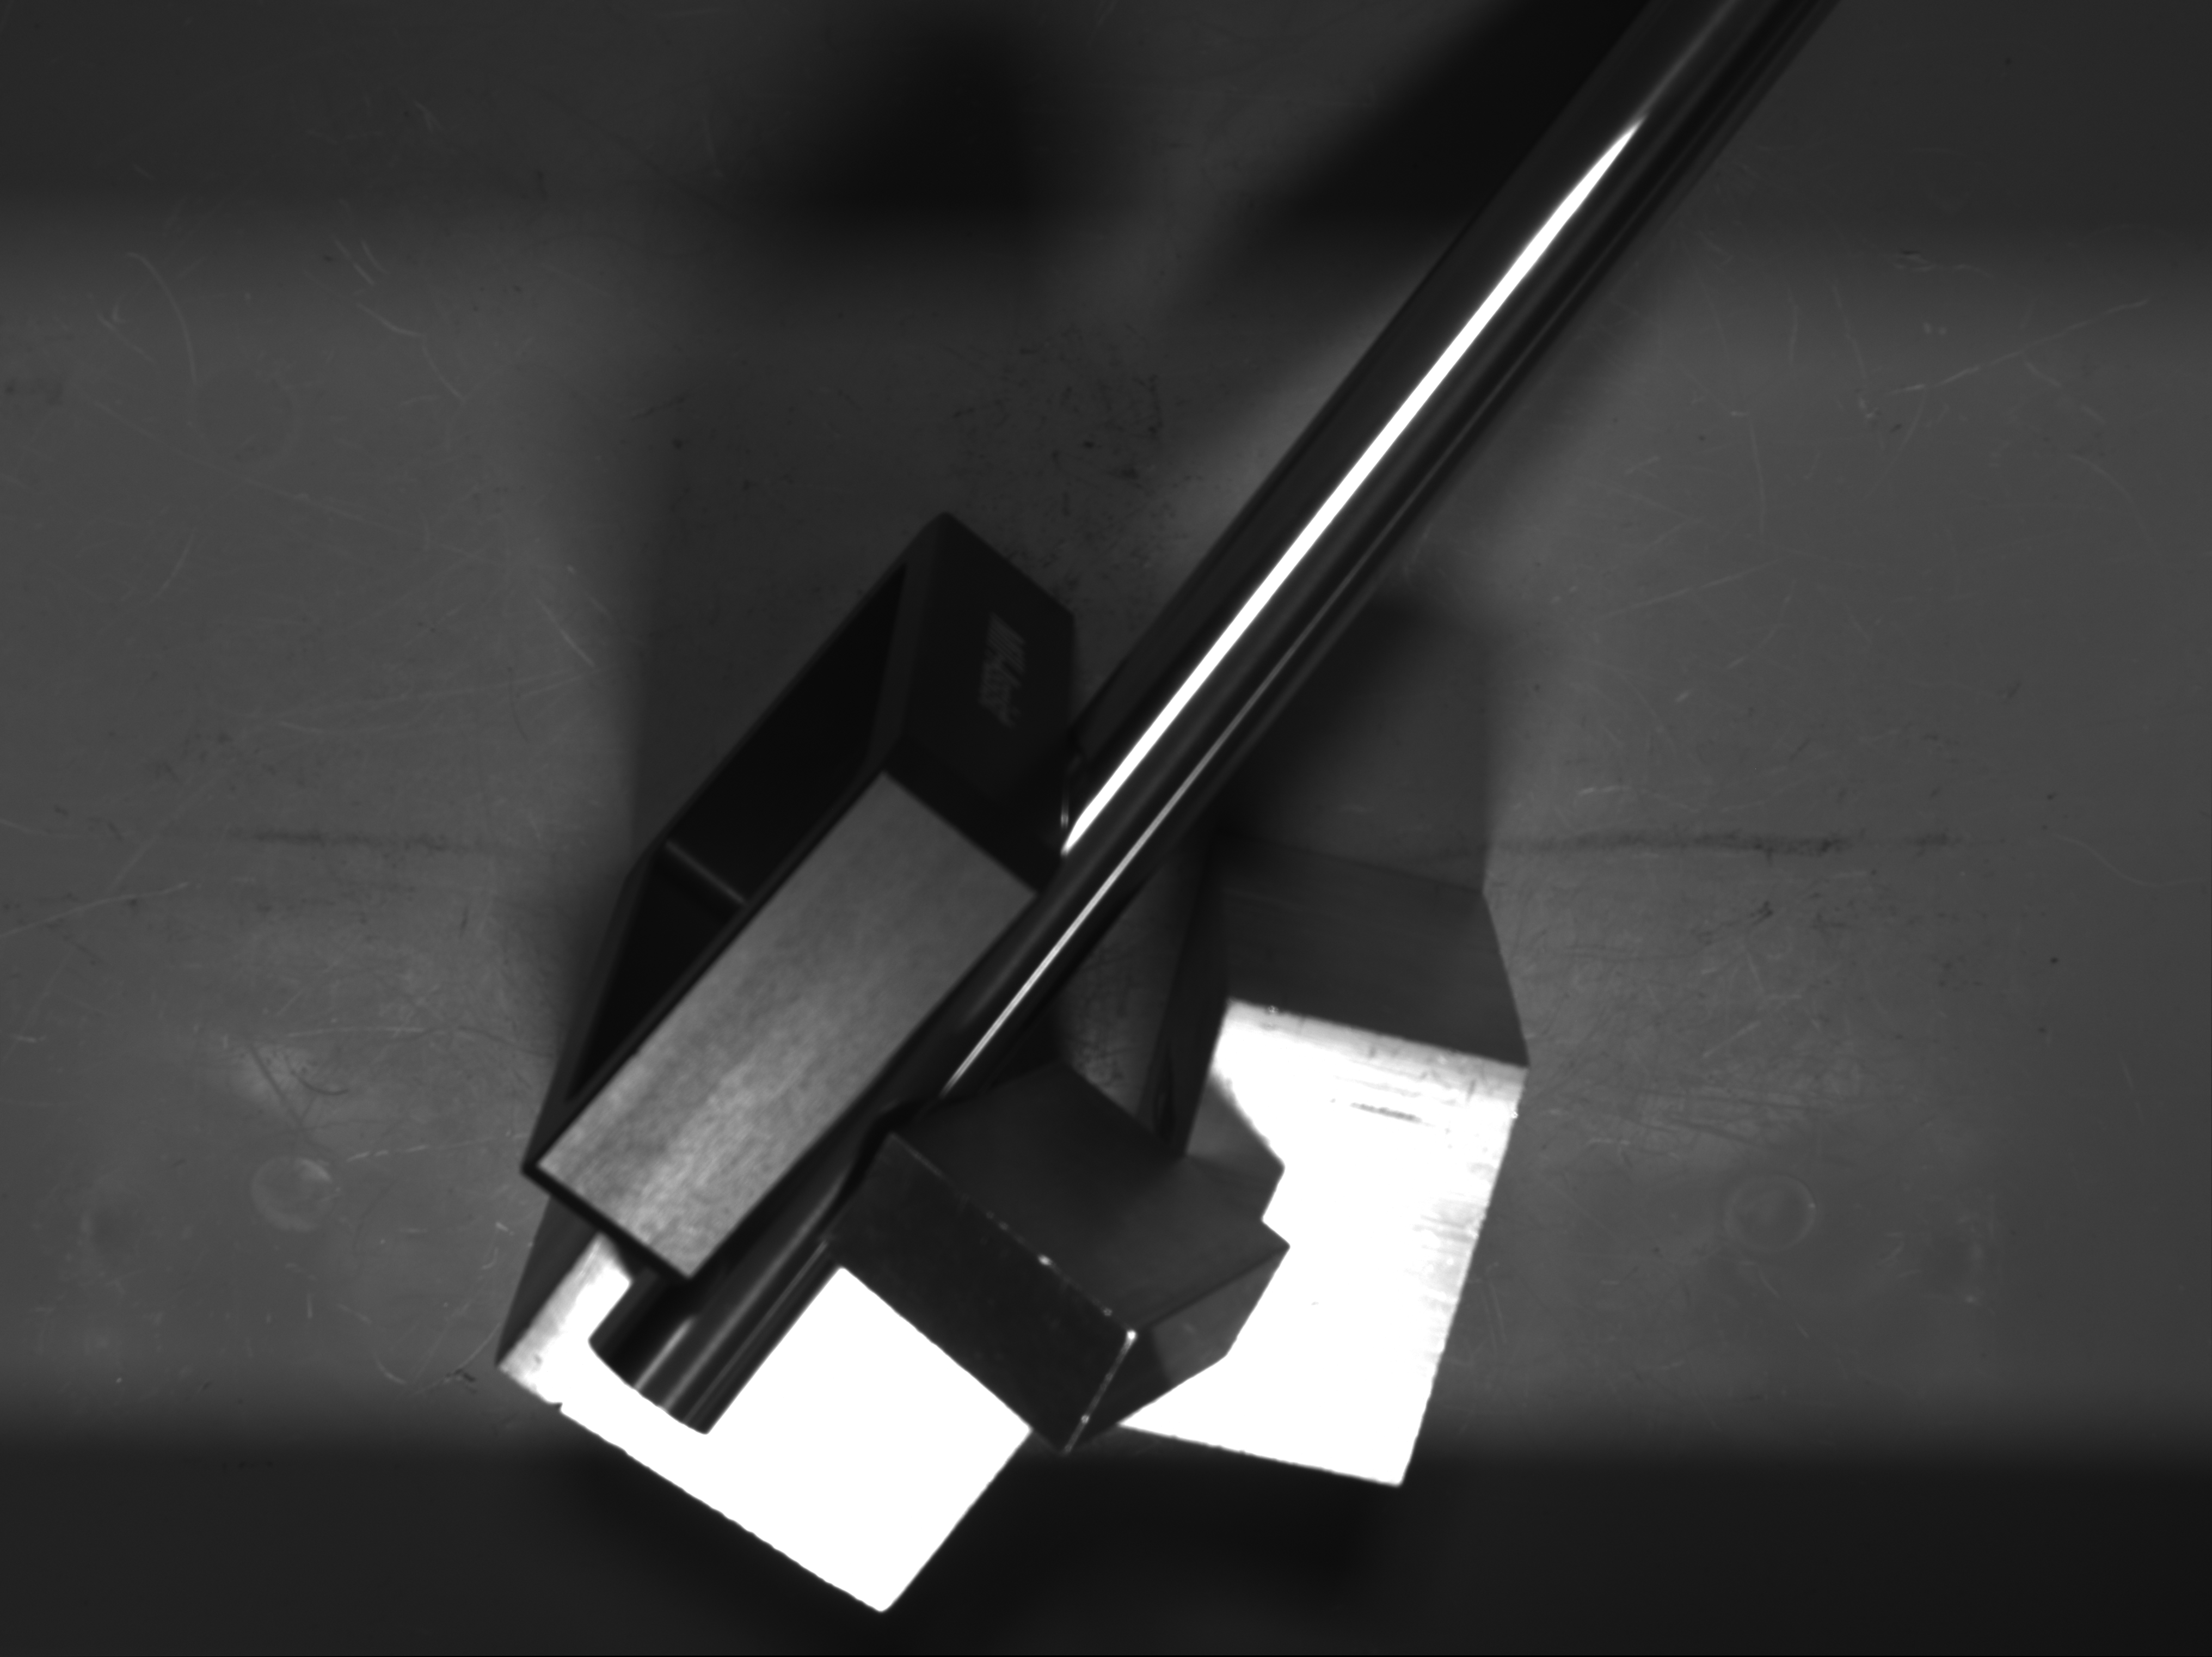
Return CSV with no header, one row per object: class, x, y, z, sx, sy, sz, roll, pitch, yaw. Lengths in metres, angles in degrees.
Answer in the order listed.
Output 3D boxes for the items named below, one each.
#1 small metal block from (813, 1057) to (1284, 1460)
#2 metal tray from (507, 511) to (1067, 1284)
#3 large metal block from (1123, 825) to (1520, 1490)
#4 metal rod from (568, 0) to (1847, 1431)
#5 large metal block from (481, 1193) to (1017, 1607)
small metal block,-0.008,0.066,0.574,0.050,0.050,0.025,38,117,20
metal tray,-0.048,0.007,0.588,0.030,0.130,0.090,39,106,-12
large metal block,0.032,0.055,0.634,0.050,0.080,0.080,13,109,-5
metal rod,0.019,-0.029,0.584,0.025,0.025,0.300,40,88,-13
large metal block,-0.056,0.077,0.642,0.080,0.080,0.050,35,106,-12
